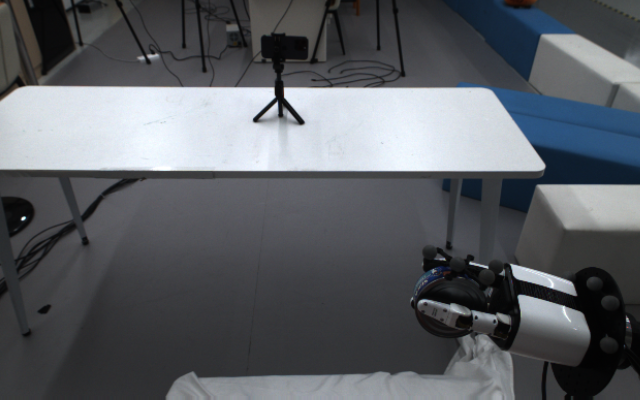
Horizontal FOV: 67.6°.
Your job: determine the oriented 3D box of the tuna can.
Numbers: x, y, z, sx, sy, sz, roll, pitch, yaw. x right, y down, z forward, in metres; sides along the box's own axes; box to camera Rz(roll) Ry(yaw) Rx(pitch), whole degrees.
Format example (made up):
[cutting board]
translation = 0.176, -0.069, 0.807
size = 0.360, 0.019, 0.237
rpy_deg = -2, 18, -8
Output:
[tuna can]
translation = 0.160, 0.121, 0.592
size = 0.085, 0.085, 0.034
rpy_deg = 5, 18, 4
